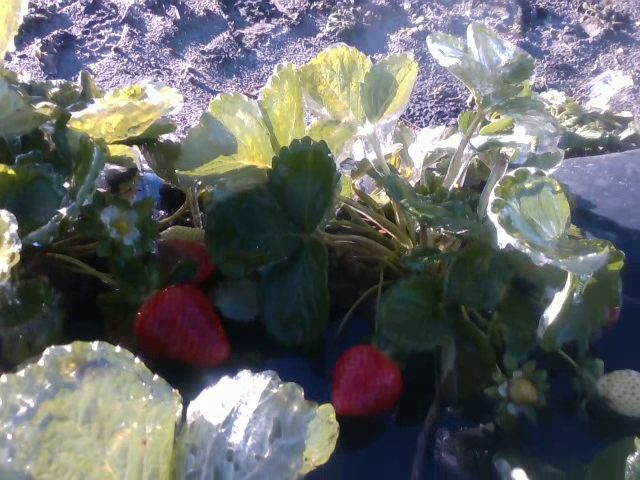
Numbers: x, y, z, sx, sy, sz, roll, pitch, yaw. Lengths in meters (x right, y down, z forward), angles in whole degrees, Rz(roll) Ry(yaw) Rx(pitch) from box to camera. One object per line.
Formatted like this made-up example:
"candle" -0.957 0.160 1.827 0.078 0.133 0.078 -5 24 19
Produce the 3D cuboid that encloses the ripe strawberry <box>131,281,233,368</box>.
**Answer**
"ripe strawberry" -0.068 0.044 0.307 0.044 0.056 0.040 -39 -22 -26

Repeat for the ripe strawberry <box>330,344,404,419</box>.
"ripe strawberry" 0.020 0.069 0.283 0.039 0.040 0.047 31 48 14
